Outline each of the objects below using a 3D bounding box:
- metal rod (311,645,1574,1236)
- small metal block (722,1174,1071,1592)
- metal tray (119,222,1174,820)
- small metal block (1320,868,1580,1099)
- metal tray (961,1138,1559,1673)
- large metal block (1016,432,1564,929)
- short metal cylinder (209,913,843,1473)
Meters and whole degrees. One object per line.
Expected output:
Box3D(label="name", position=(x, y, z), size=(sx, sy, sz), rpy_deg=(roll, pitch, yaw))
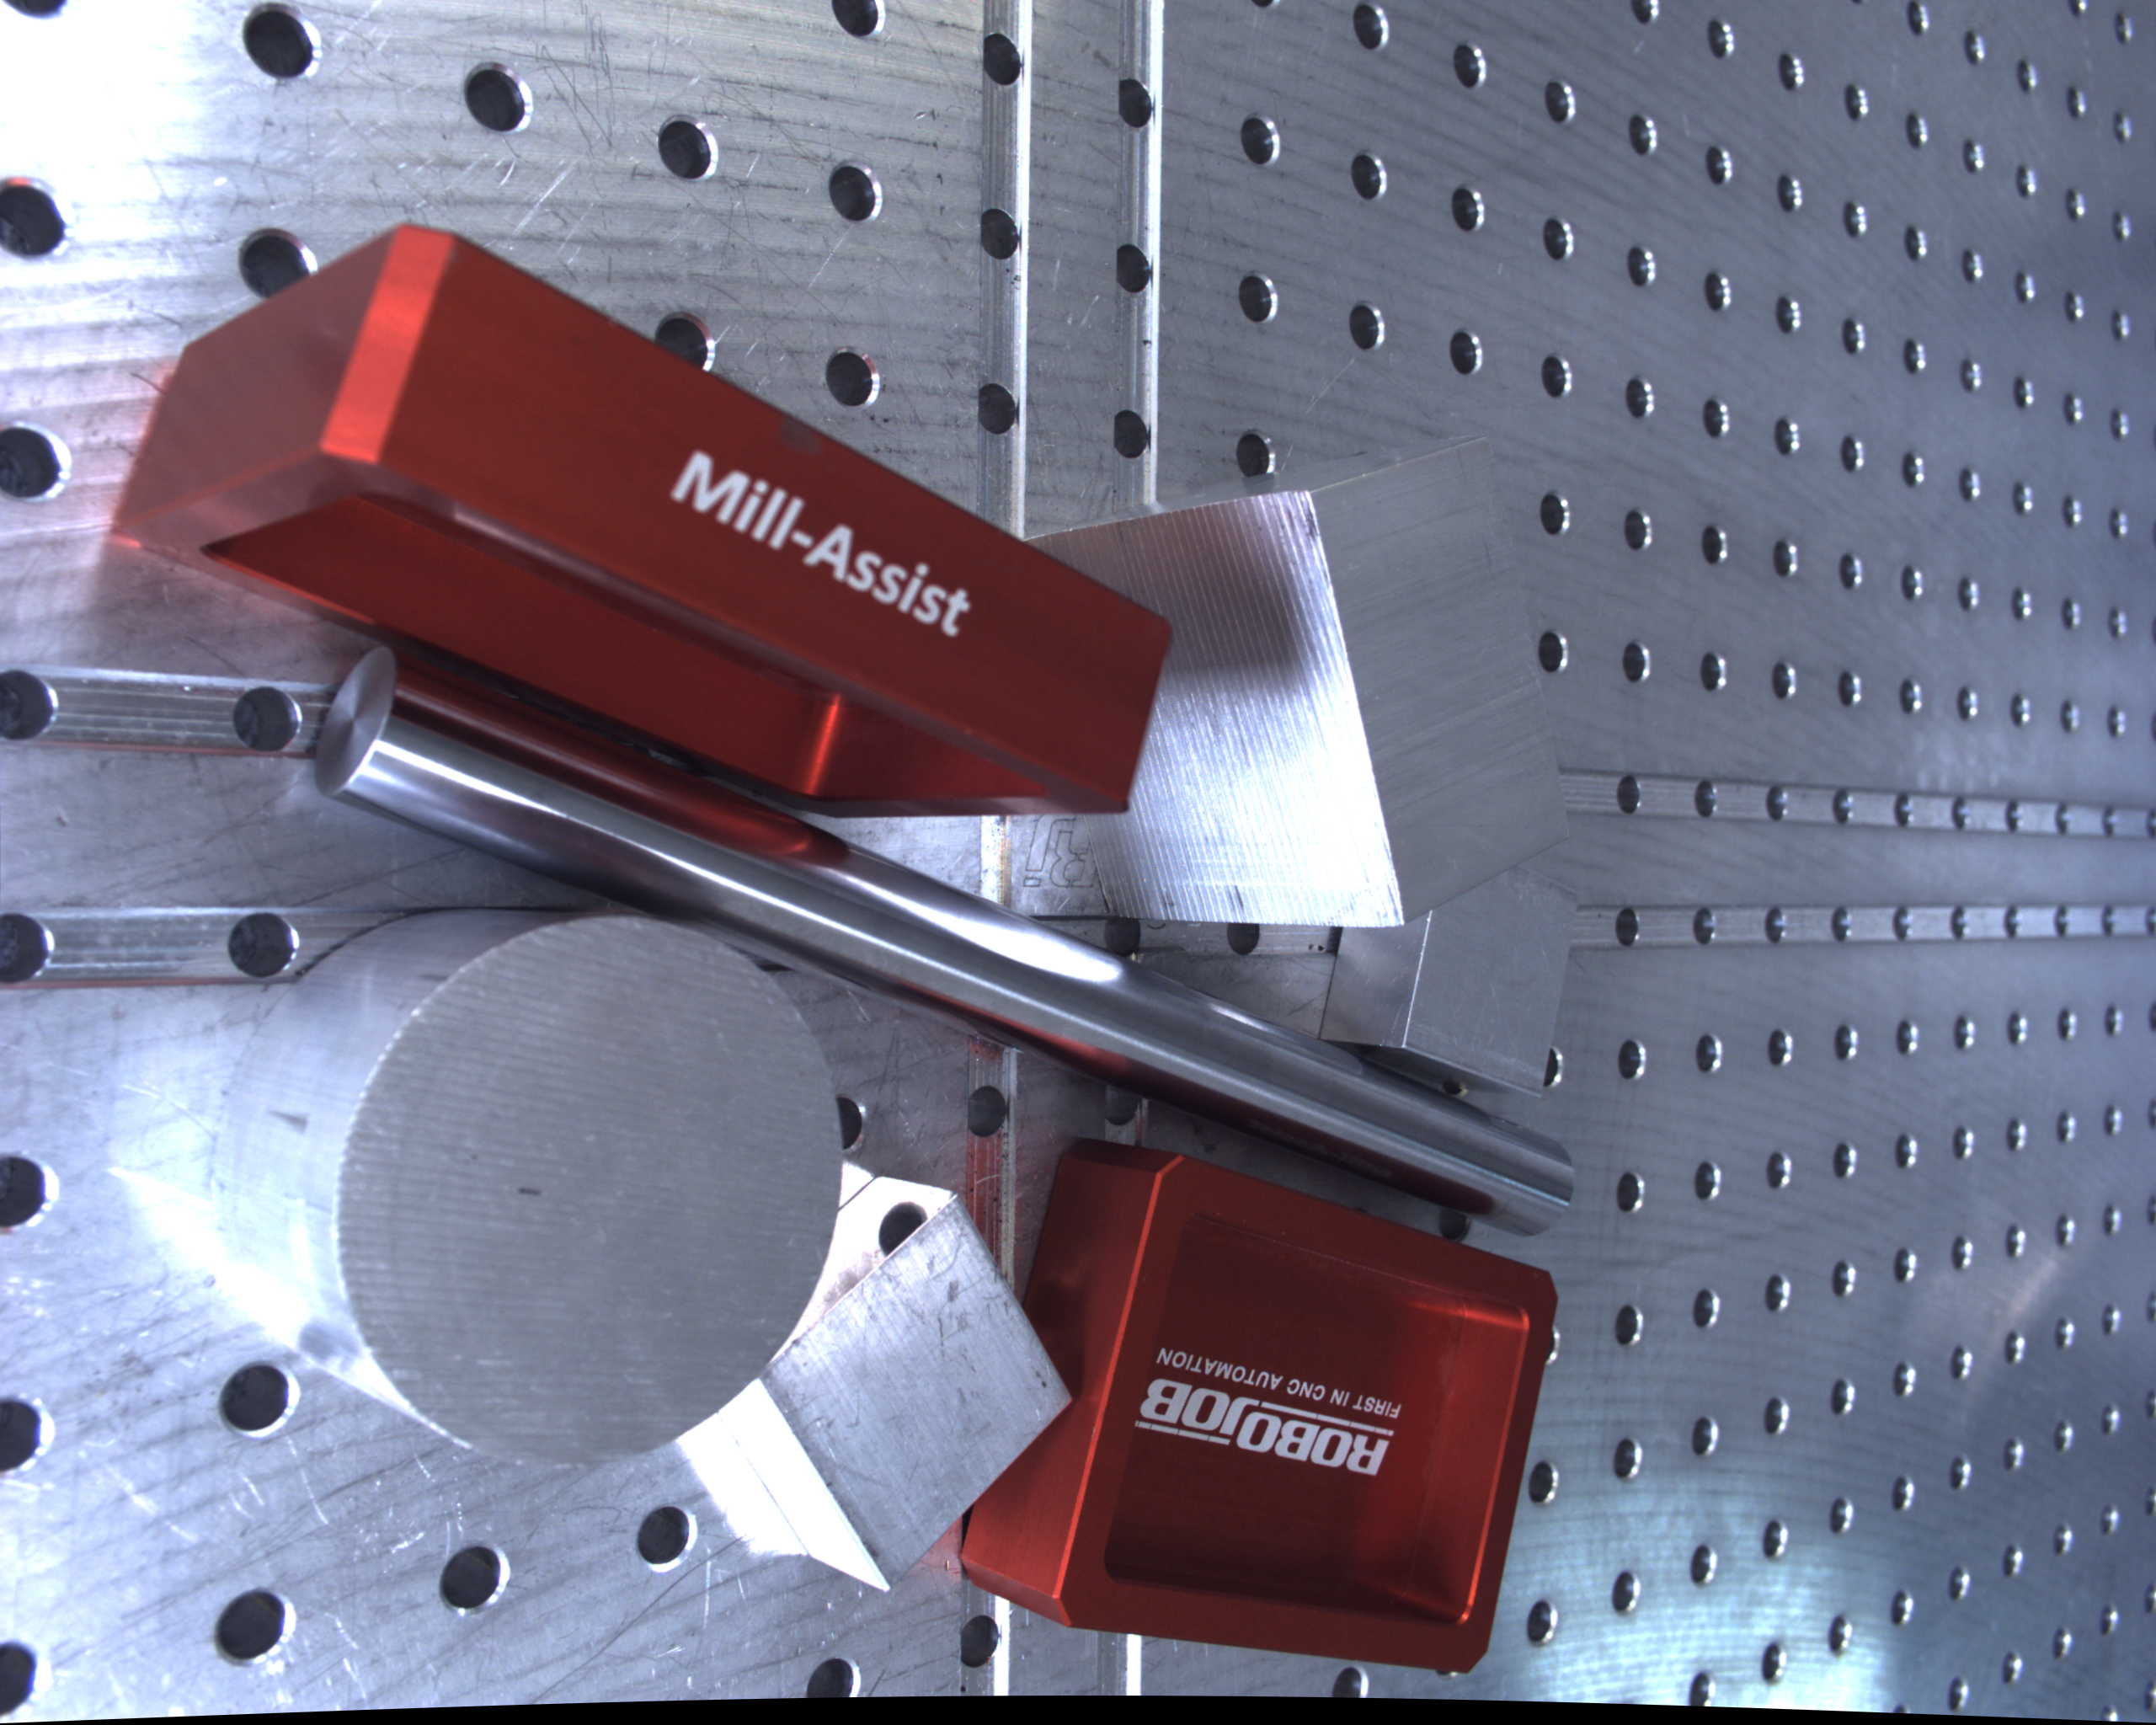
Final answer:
Box3D(label="metal rod", position=(-0.001, 0.028, 0.408), size=(0.302, 0.025, 0.025), rpy_deg=(24, 75, -37))
Box3D(label="small metal block", position=(-0.036, 0.093, 0.380), size=(0.050, 0.025, 0.050), rpy_deg=(-40, 114, -33))
Box3D(label="metal tray", position=(-0.062, -0.042, 0.313), size=(0.131, 0.090, 0.030), rpy_deg=(23, 76, -38))
Box3D(label="small metal block", position=(0.086, 0.024, 0.481), size=(0.050, 0.025, 0.050), rpy_deg=(22, 76, -38))
Box3D(label="metal tray", position=(0.044, 0.117, 0.442), size=(0.131, 0.030, 0.090), rpy_deg=(23, 76, -38))
Box3D(label="large metal block", position=(0.040, -0.034, 0.408), size=(0.050, 0.080, 0.080), rpy_deg=(-24, 105, -38))
Box3D(label="short metal cylinder", position=(-0.084, 0.048, 0.321), size=(0.081, 0.050, 0.080), rpy_deg=(0, 90, -40))
